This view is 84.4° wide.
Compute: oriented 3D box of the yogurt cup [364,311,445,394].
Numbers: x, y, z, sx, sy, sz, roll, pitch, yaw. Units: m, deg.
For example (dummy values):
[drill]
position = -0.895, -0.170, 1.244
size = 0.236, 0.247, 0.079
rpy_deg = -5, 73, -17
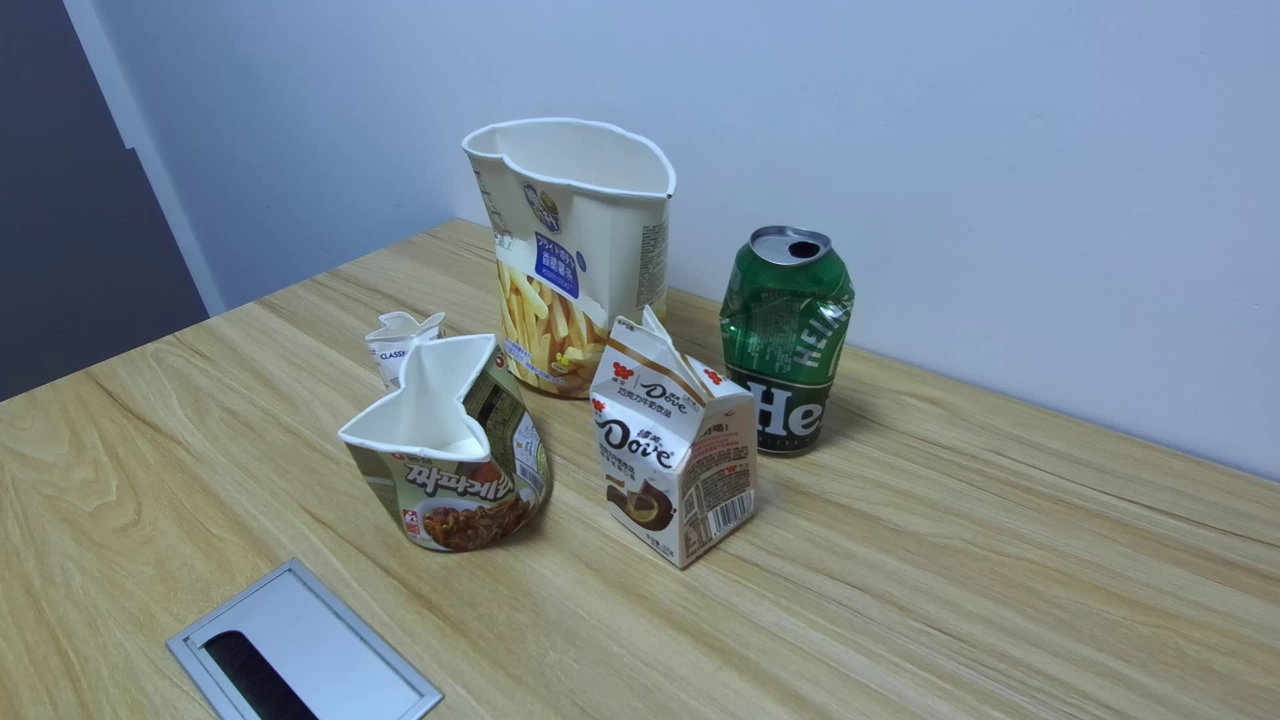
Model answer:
[yogurt cup]
position = -0.199, 0.002, 0.621
size = 0.055, 0.055, 0.072
rpy_deg = -20, 3, -22

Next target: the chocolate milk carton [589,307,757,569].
[chocolate milk carton]
position = 0.023, 0.042, 0.438
size = 0.074, 0.156, 0.076
rpy_deg = -29, 42, -30

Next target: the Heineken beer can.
[Heineken beer can]
position = 0.099, -0.011, 0.502
size = 0.066, 0.164, 0.077
rpy_deg = -16, 38, -17

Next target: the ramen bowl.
[ramen bowl]
position = -0.122, 0.054, 0.489
size = 0.111, 0.093, 0.128
rpy_deg = 4, 35, 12

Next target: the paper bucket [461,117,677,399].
[paper bucket]
position = -0.053, -0.086, 0.601
size = 0.217, 0.199, 0.148
rpy_deg = 10, 36, 19
